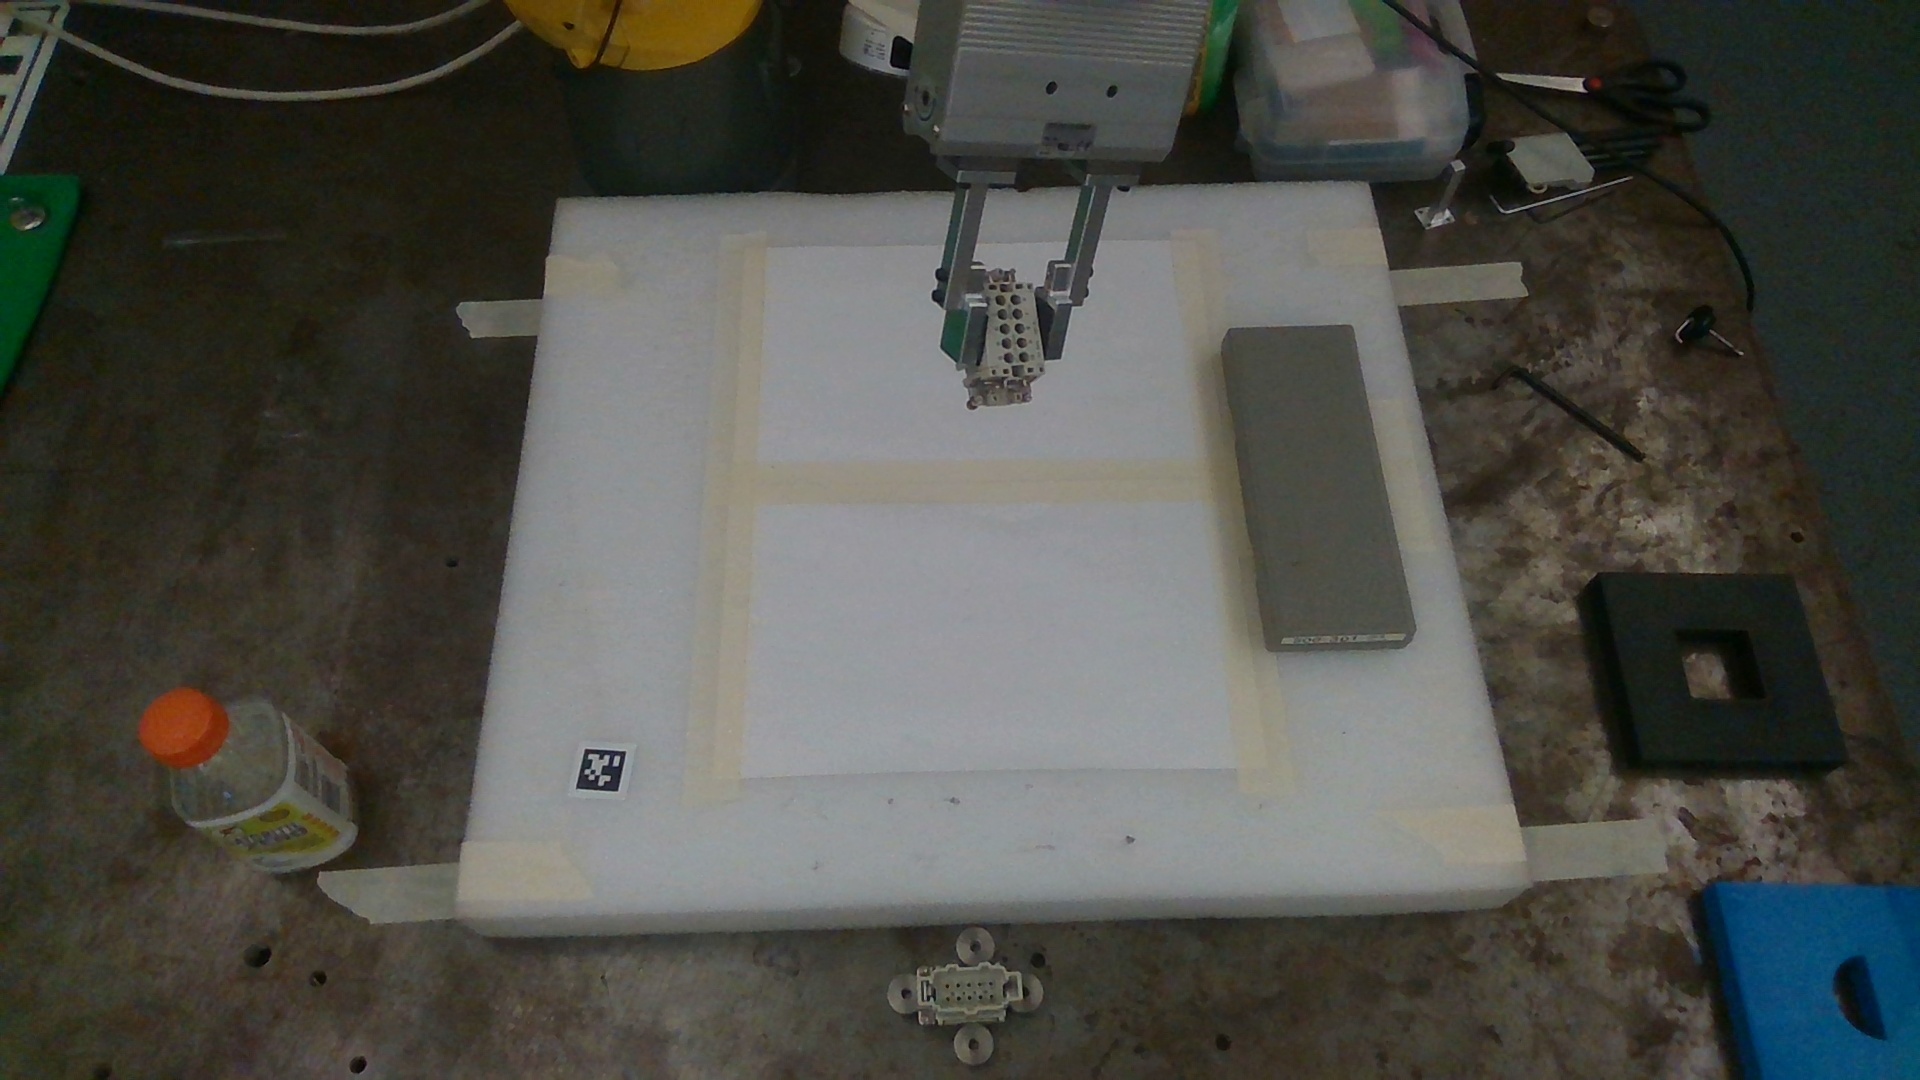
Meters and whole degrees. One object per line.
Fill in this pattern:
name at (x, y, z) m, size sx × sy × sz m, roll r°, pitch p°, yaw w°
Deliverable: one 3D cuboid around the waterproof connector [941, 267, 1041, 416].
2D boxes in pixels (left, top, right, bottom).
waterproof connector at (0.013, -0.095, 0.659) m, size 0.036 × 0.039 × 0.069 m, roll -9°, pitch 92°, yaw -23°
